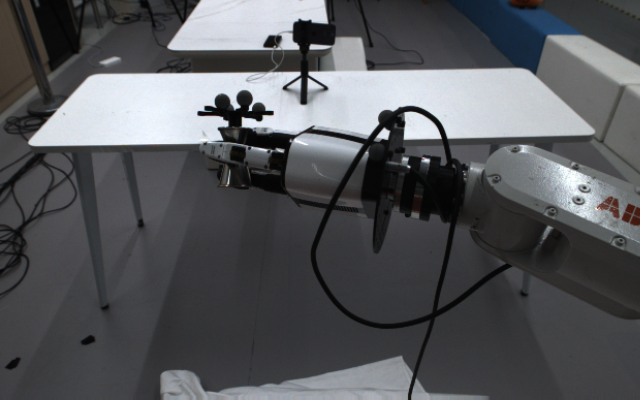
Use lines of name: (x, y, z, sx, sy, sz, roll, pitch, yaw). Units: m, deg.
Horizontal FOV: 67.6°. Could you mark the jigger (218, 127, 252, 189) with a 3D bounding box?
jigger: (-0.097, -0.049, 0.565, 0.043, 0.071, 0.043, 0, 2, 0)
